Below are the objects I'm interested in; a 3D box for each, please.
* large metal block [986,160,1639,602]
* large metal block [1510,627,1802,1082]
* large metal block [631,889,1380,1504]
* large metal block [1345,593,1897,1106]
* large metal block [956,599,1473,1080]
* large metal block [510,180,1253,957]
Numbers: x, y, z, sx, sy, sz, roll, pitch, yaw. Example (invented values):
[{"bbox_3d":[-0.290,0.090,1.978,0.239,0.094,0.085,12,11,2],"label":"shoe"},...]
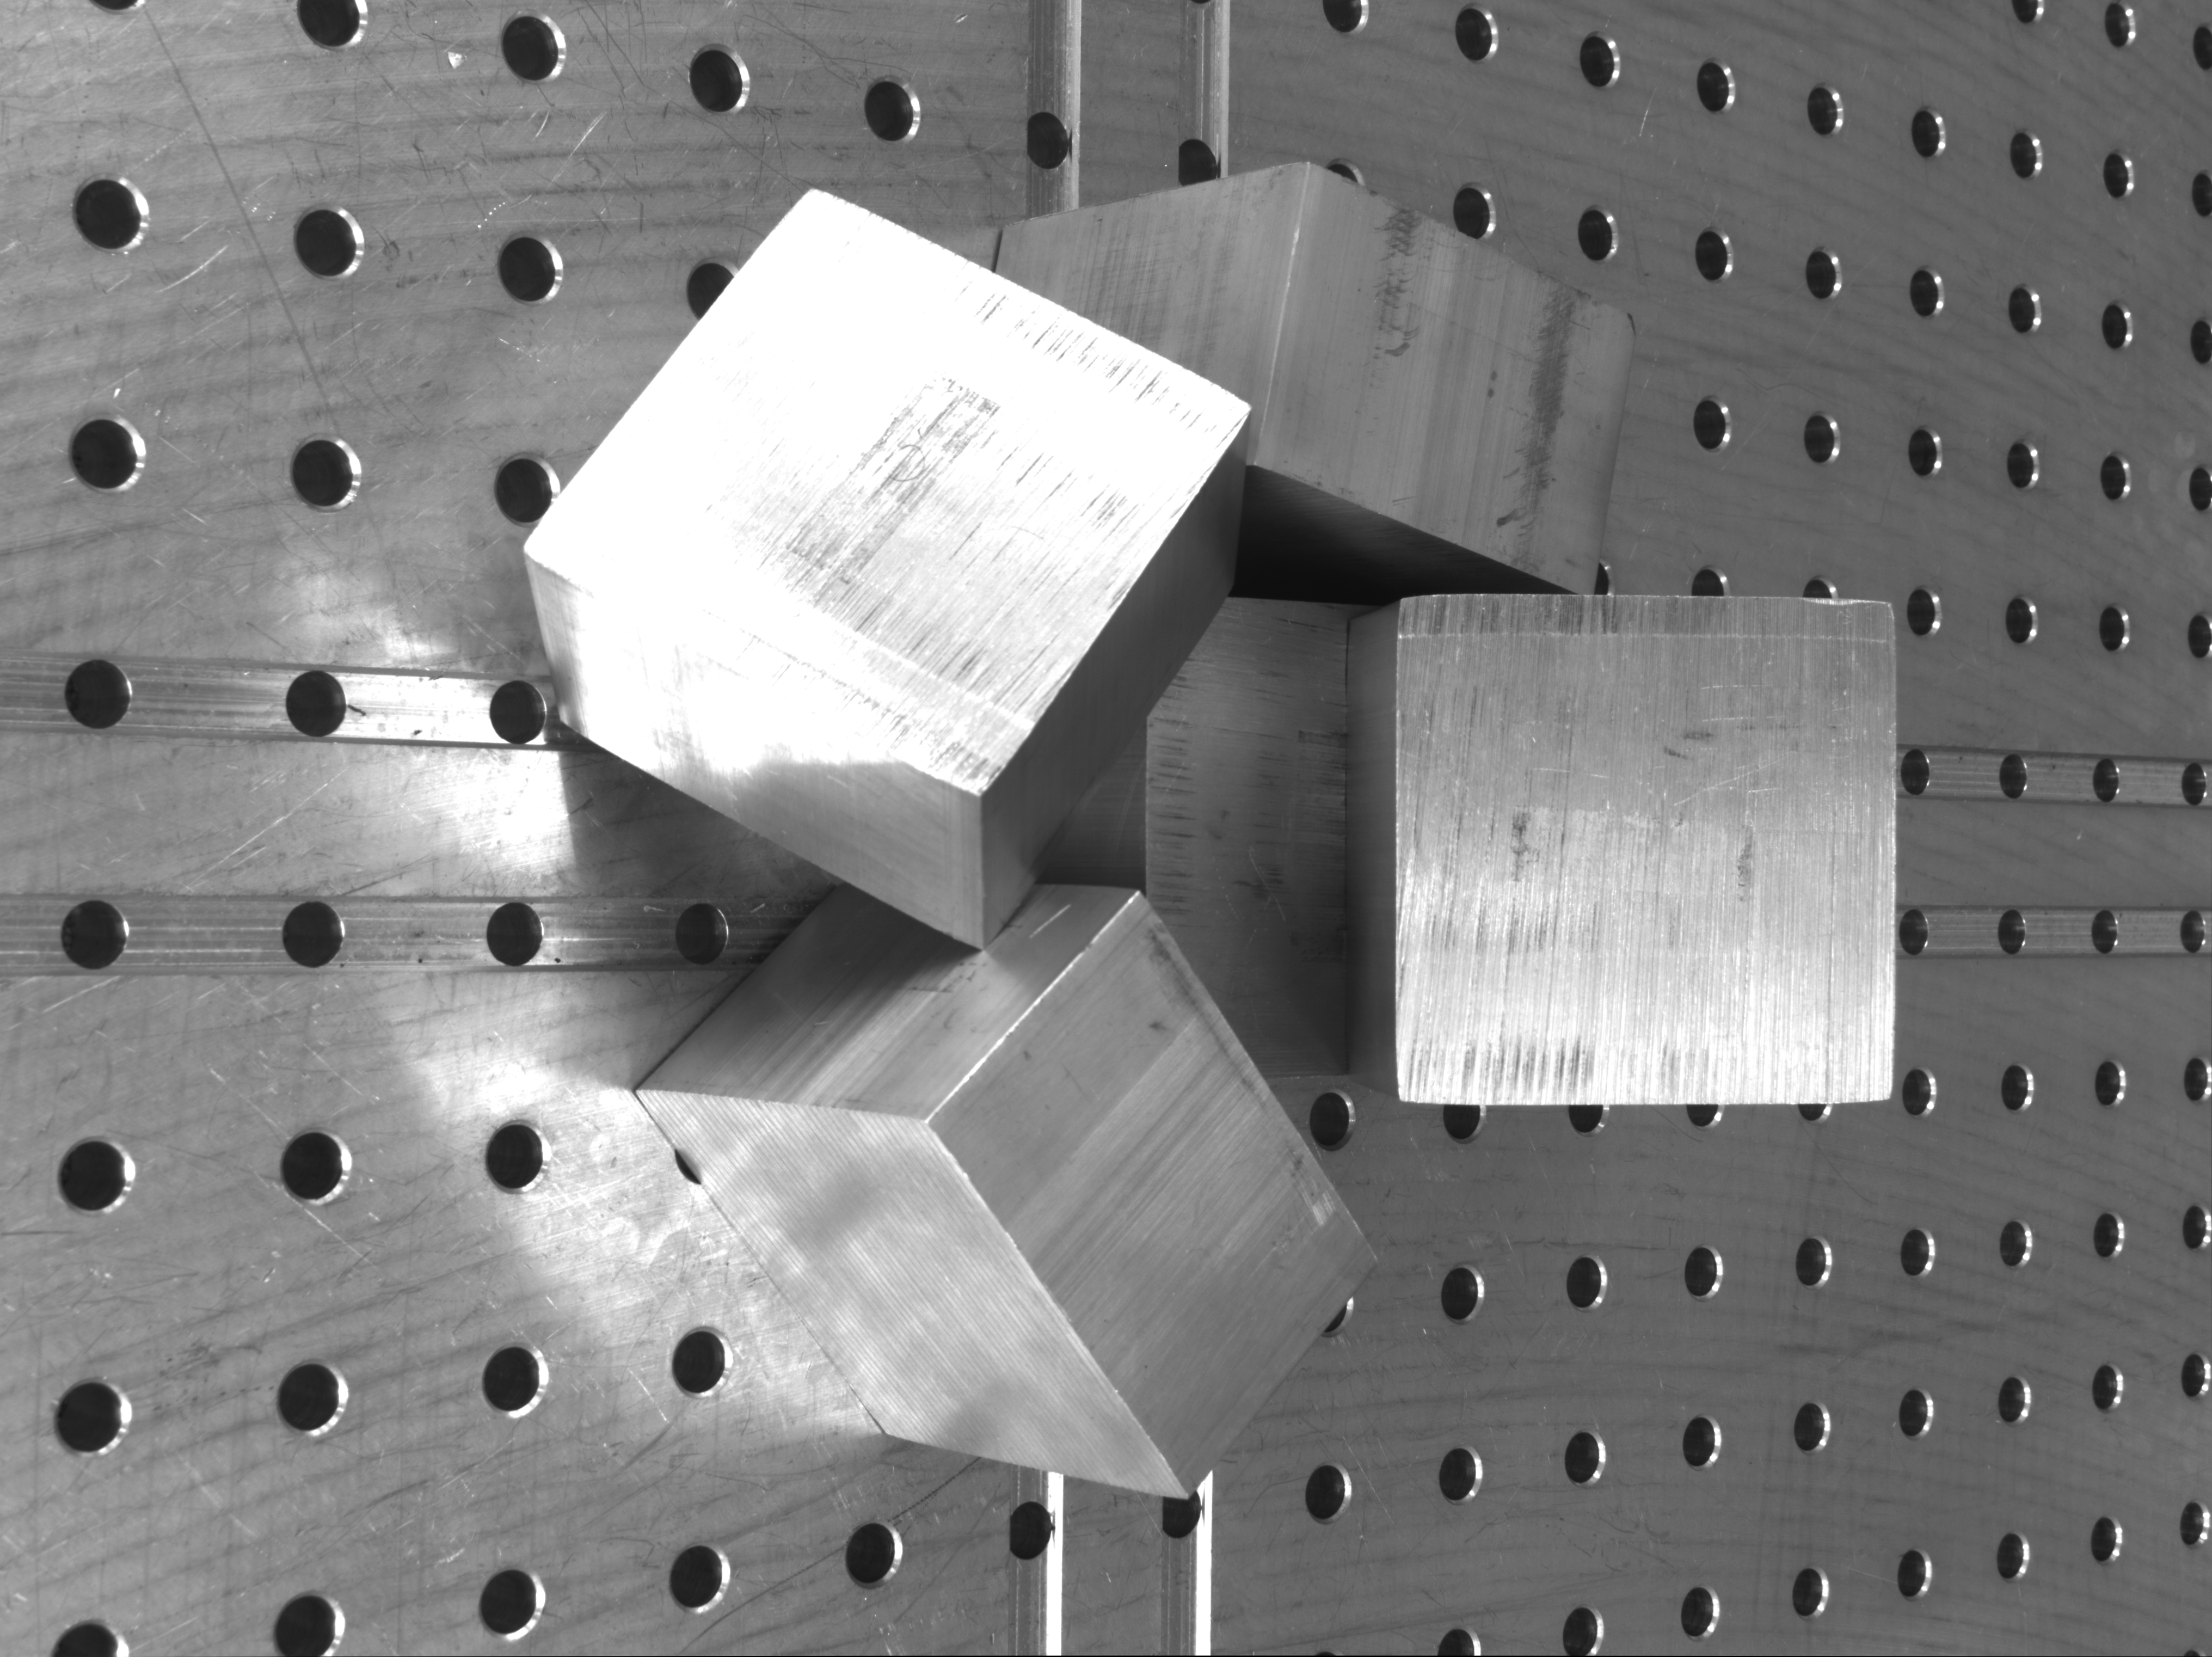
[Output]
[{"bbox_3d":[0.031,-0.072,0.630,0.080,0.080,0.050,17,79,-38],"label":"large metal block"},{"bbox_3d":[0.093,0.004,0.670,0.050,0.080,0.080,0,89,-2],"label":"large metal block"},{"bbox_3d":[-0.016,0.057,0.589,0.050,0.080,0.080,-48,118,-30],"label":"large metal block"},{"bbox_3d":[0.083,0.004,0.602,0.080,0.050,0.080,0,89,-6],"label":"large metal block"},{"bbox_3d":[0.020,0.002,0.640,0.080,0.050,0.080,1,89,-40],"label":"large metal block"},{"bbox_3d":[-0.033,-0.041,0.568,0.080,0.080,0.050,-56,166,-25],"label":"large metal block"}]
